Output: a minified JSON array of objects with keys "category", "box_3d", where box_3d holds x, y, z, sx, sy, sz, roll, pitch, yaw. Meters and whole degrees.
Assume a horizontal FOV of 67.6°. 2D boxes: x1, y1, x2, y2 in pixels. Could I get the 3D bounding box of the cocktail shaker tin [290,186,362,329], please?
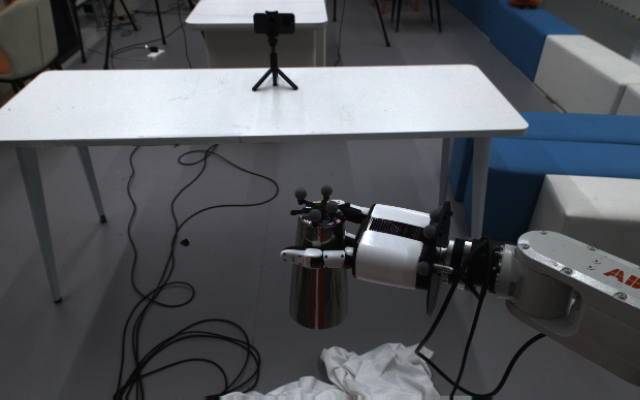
[{"category":"cocktail shaker tin","box_3d":[0.002,0.094,0.725,0.093,0.170,0.093,1,27,-1]}]
